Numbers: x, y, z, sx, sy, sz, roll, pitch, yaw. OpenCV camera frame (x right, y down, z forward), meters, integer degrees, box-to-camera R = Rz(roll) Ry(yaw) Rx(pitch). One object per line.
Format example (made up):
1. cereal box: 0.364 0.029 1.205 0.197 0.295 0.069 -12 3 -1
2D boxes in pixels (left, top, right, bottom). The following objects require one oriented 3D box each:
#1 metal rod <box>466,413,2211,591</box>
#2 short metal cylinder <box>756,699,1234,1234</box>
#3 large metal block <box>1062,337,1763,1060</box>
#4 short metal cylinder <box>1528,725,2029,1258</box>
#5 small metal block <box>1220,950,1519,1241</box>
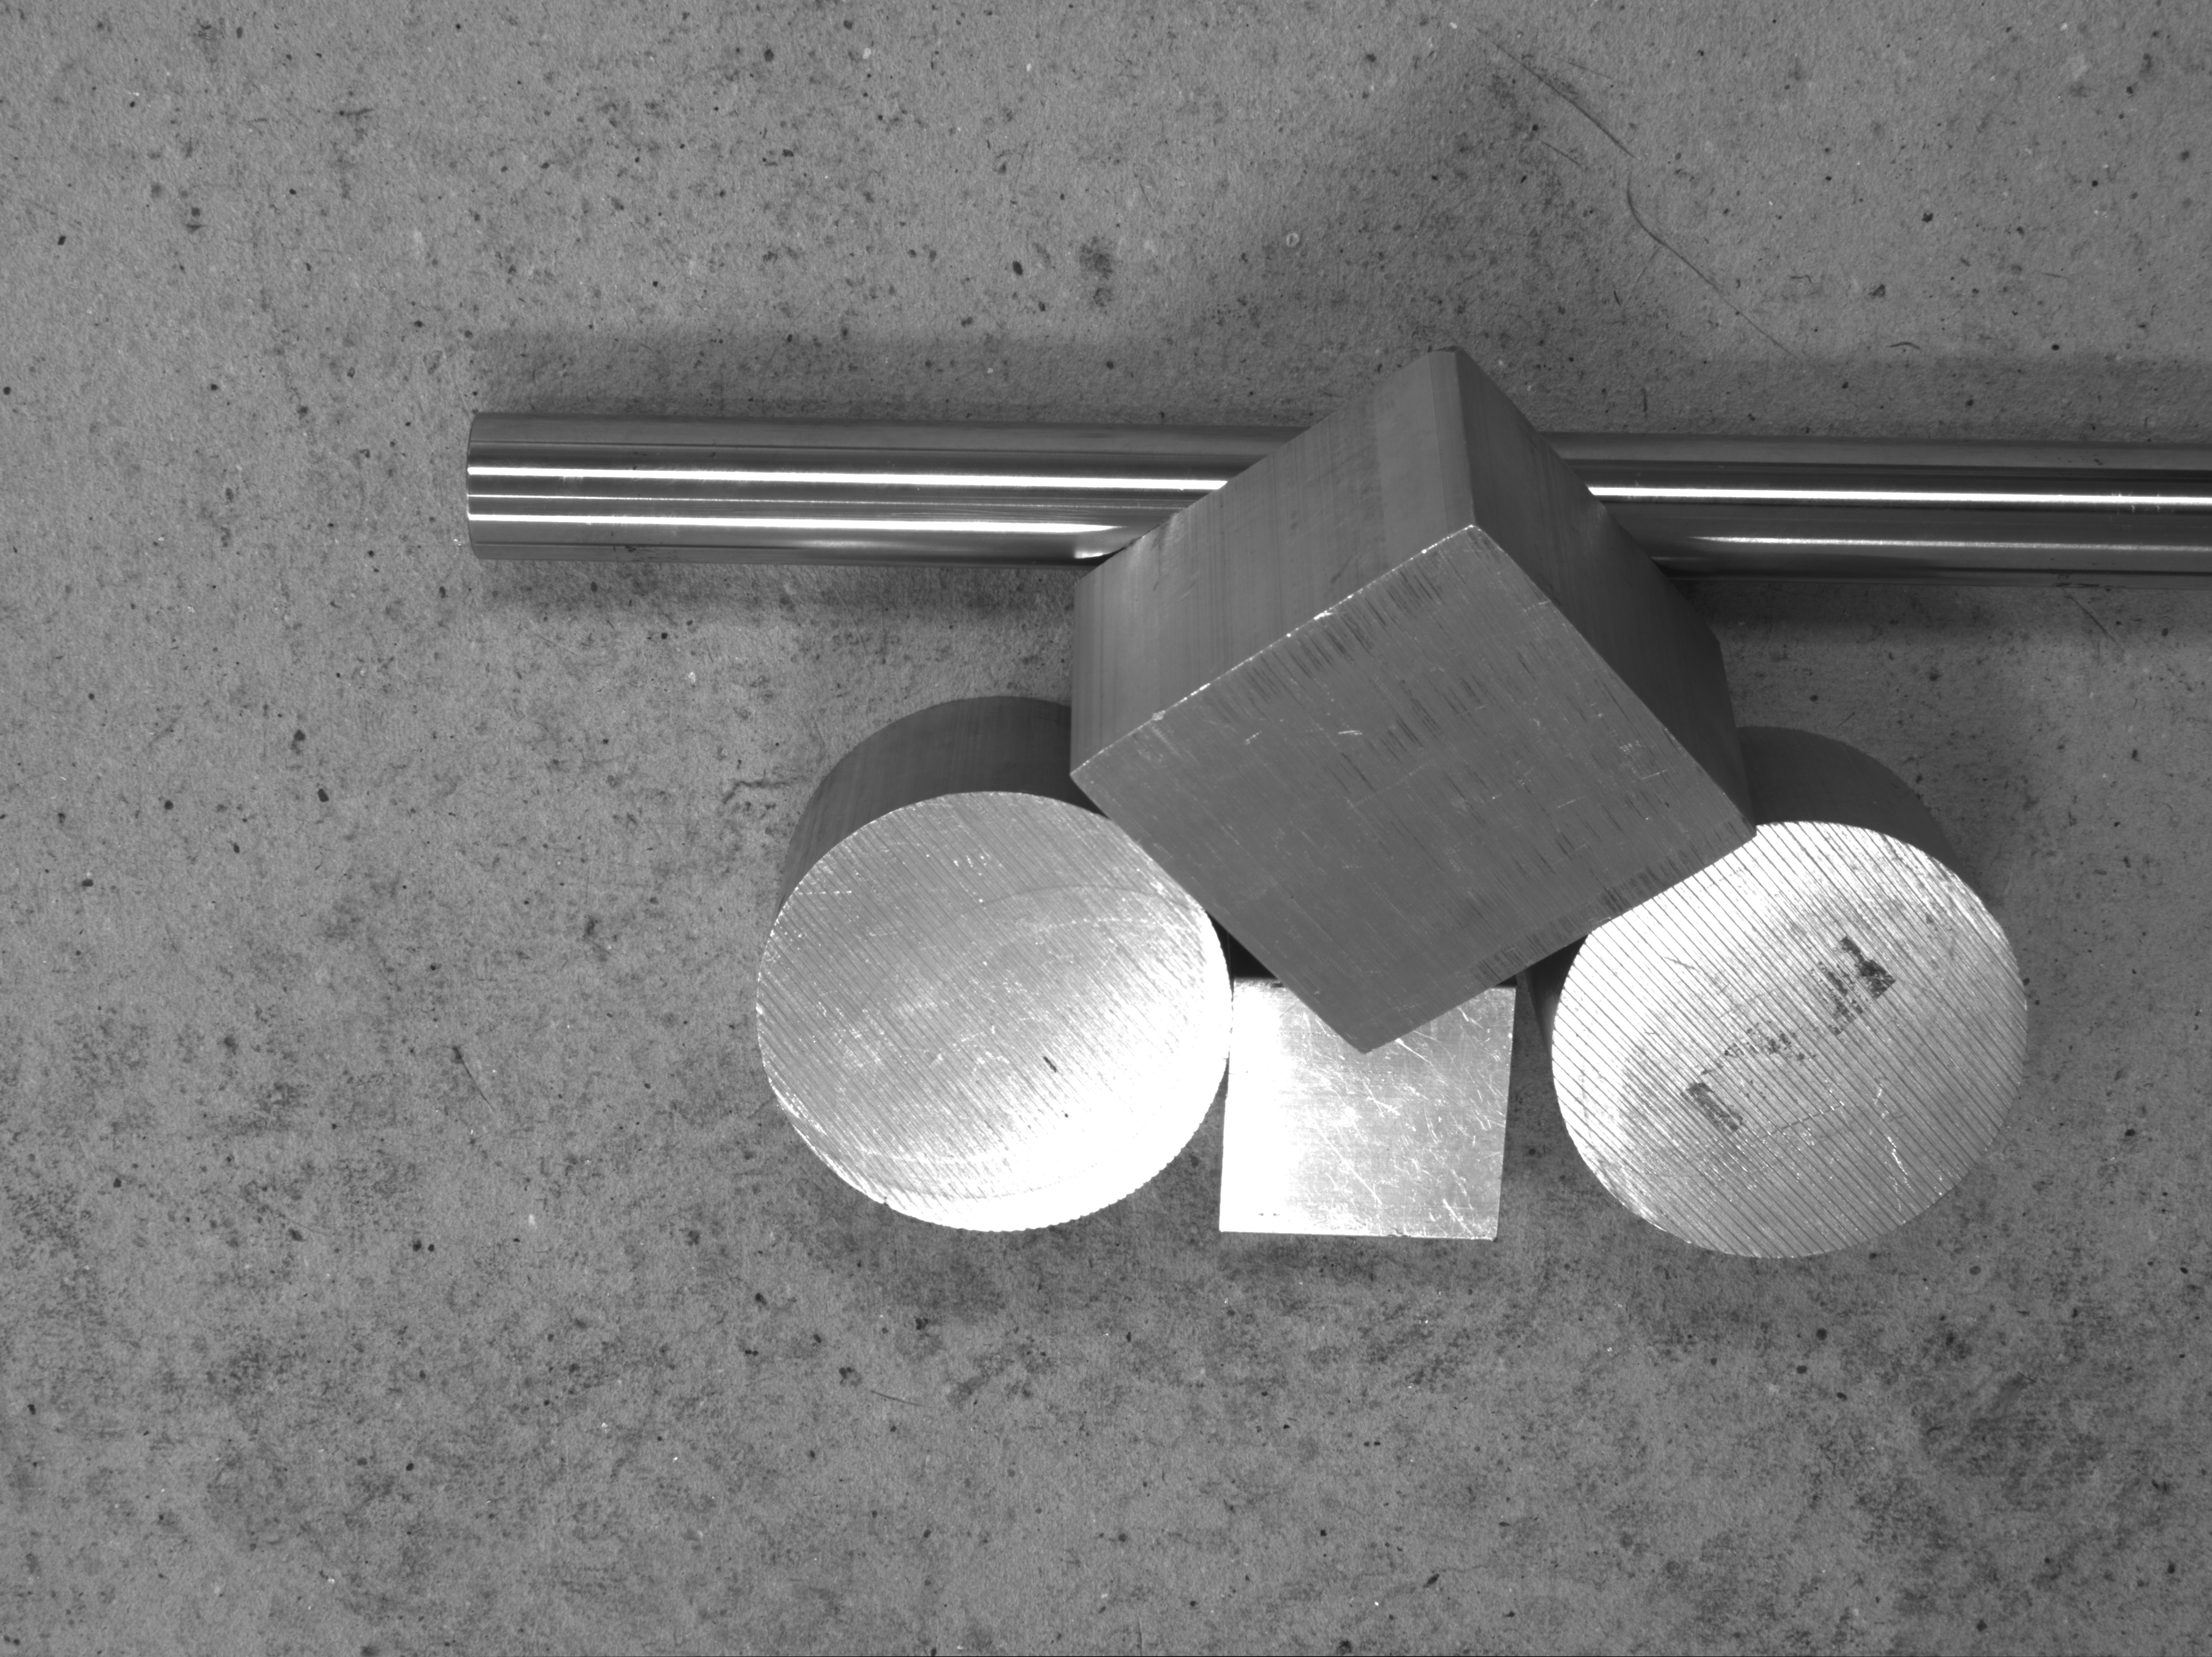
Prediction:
1. metal rod: 0.044 -0.055 0.624 0.300 0.025 0.025 1 110 0
2. short metal cylinder: -0.018 0.023 0.639 0.080 0.050 0.080 0 110 0
3. large metal block: 0.050 -0.020 0.605 0.080 0.050 0.080 -31 124 25
4. short metal cylinder: 0.115 0.028 0.641 0.080 0.050 0.080 0 110 0
5. small metal block: 0.046 0.045 0.662 0.050 0.025 0.050 2 110 -1
